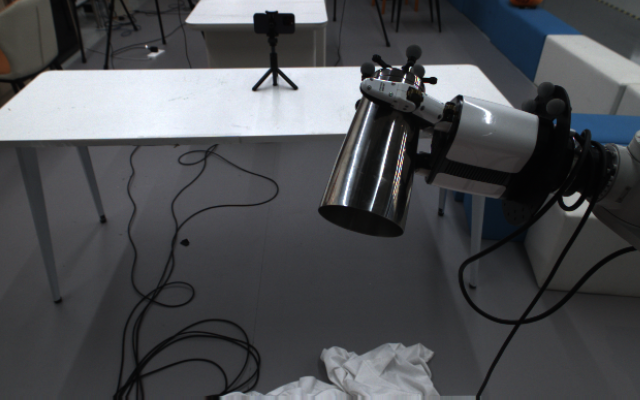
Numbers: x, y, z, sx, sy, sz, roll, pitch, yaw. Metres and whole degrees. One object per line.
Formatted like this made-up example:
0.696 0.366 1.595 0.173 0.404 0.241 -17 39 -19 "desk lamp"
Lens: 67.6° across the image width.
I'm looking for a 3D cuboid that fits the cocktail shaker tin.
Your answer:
0.067 -0.057 0.531 0.093 0.093 0.170 12 72 14 "cocktail shaker tin"
